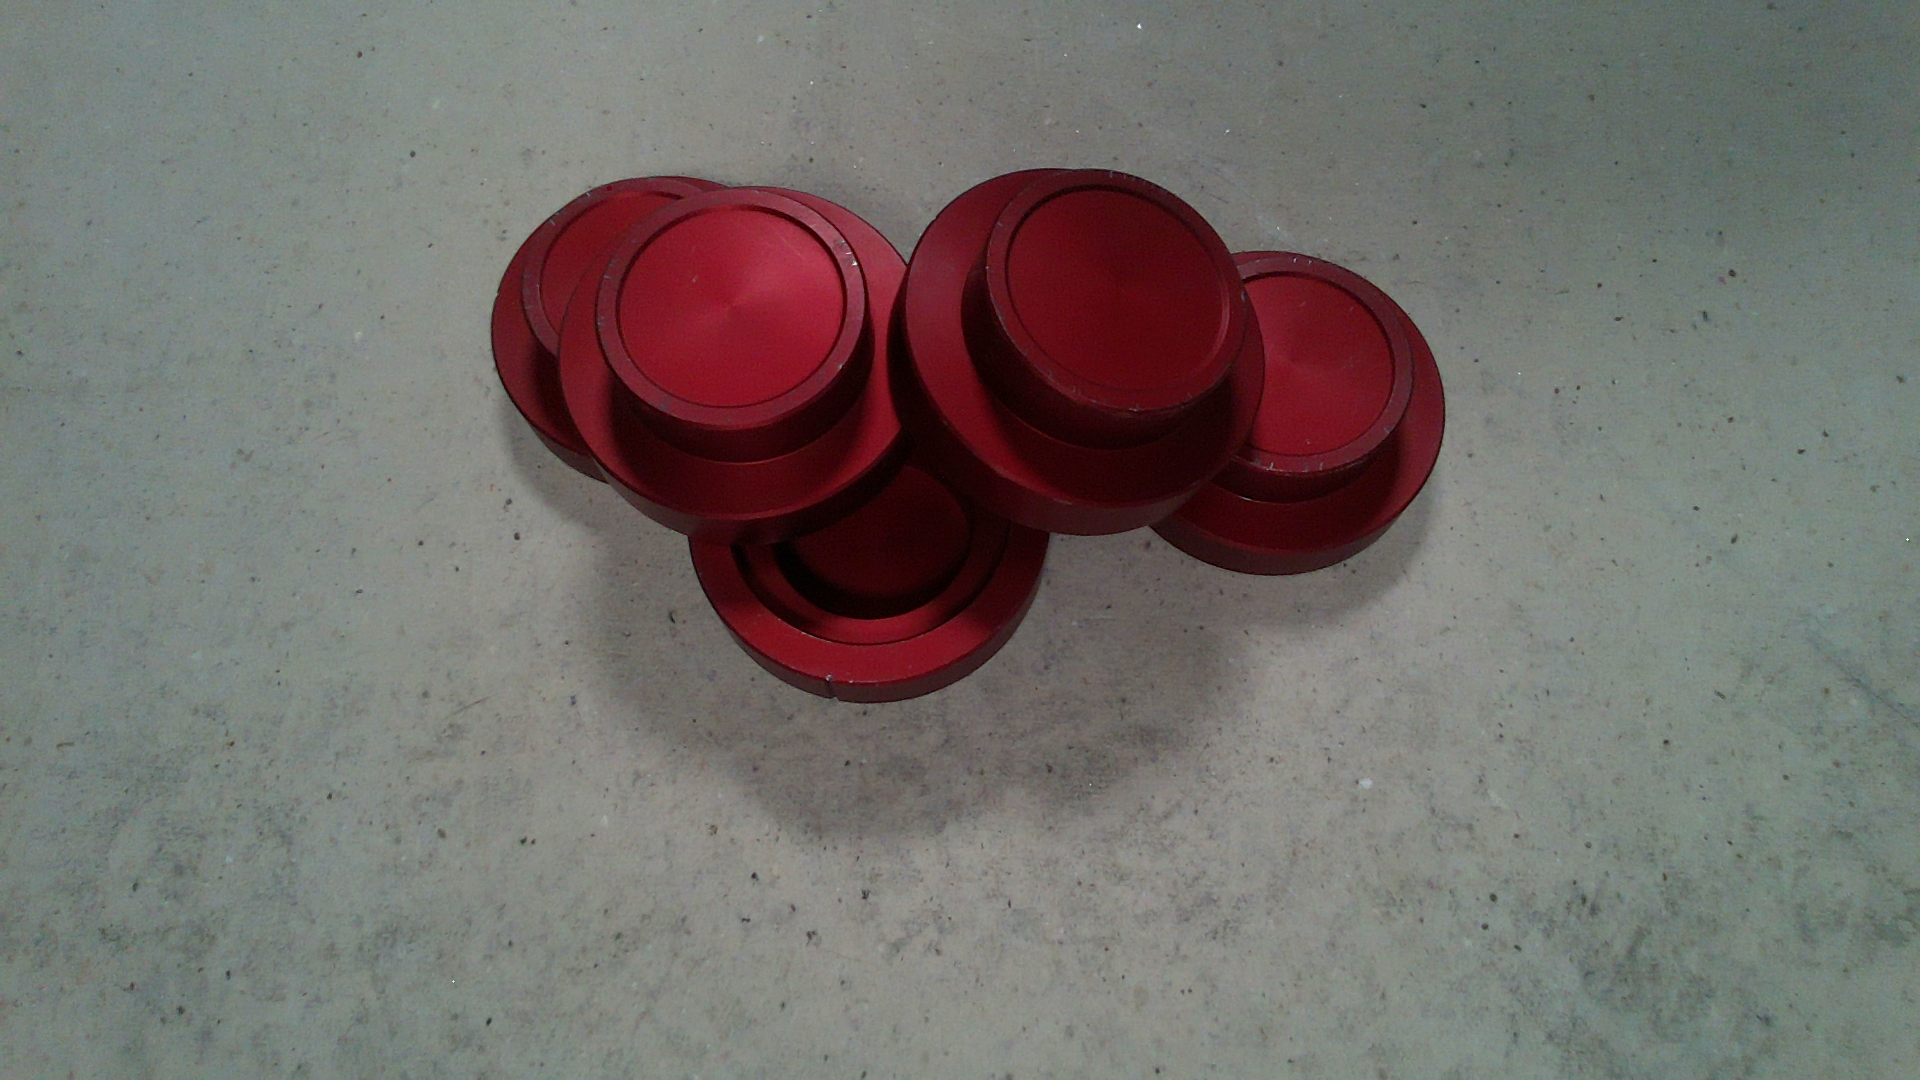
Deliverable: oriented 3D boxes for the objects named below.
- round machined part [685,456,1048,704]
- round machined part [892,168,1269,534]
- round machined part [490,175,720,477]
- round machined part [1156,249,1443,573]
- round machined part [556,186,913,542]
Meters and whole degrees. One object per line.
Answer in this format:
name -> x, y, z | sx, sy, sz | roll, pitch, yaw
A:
round machined part -> -0.025, -0.002, 0.386 | 0.098, 0.042, 0.098 | 0, 70, 0
round machined part -> 0.033, -0.054, 0.350 | 0.098, 0.042, 0.098 | 5, 68, -12
round machined part -> -0.091, -0.068, 0.410 | 0.098, 0.042, 0.098 | 0, 70, 0
round machined part -> 0.092, -0.043, 0.401 | 0.098, 0.042, 0.098 | 0, 70, 0
round machined part -> -0.057, -0.052, 0.359 | 0.098, 0.042, 0.098 | 0, 70, 0
